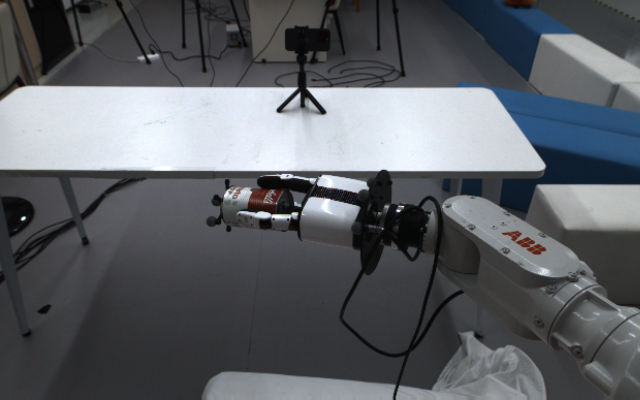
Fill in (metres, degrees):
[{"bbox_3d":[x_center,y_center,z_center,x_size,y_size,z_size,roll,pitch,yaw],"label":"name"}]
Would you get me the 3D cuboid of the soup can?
[{"bbox_3d":[-0.100,0.015,0.786,0.101,0.067,0.067,4,34,20],"label":"soup can"}]
